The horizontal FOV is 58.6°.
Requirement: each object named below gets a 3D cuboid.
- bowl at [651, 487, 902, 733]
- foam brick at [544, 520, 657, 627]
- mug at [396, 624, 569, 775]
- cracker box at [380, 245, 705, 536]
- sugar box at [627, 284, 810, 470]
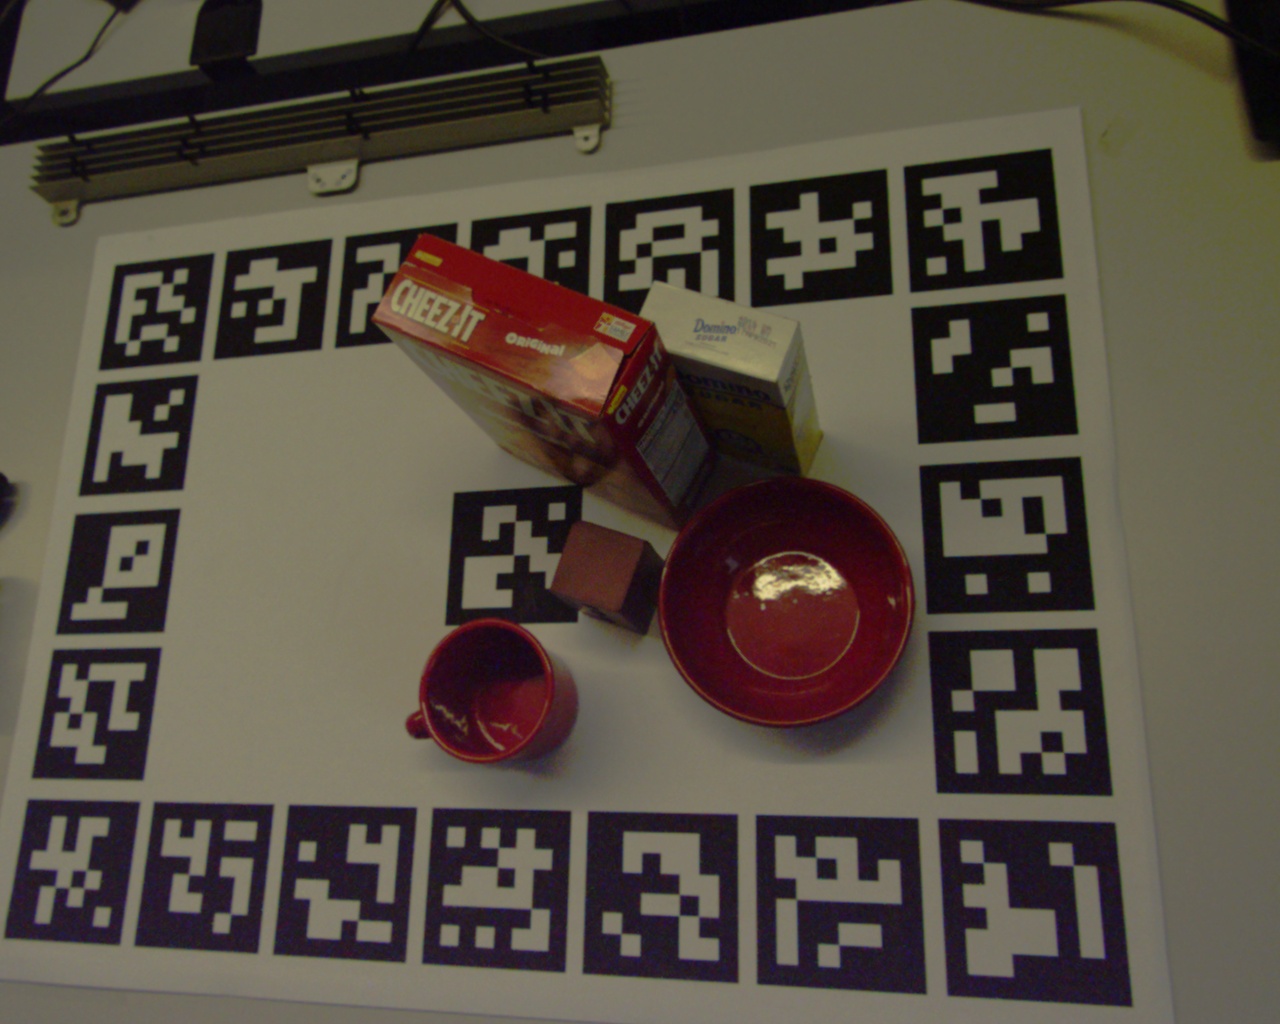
[{"bbox_3d":[0.091,0.068,0.756,0.163,0.055,0.162,-4,74,15],"label":"bowl"},{"bbox_3d":[-0.026,0.045,0.800,0.053,0.077,0.051,13,77,19],"label":"foam brick"},{"bbox_3d":[-0.110,0.136,0.786,0.118,0.080,0.093,-12,63,14],"label":"mug"},{"bbox_3d":[-0.057,-0.071,0.767,0.166,0.212,0.072,27,80,20],"label":"cracker box"},{"bbox_3d":[0.055,-0.085,0.757,0.094,0.175,0.045,19,80,20],"label":"sugar box"}]
